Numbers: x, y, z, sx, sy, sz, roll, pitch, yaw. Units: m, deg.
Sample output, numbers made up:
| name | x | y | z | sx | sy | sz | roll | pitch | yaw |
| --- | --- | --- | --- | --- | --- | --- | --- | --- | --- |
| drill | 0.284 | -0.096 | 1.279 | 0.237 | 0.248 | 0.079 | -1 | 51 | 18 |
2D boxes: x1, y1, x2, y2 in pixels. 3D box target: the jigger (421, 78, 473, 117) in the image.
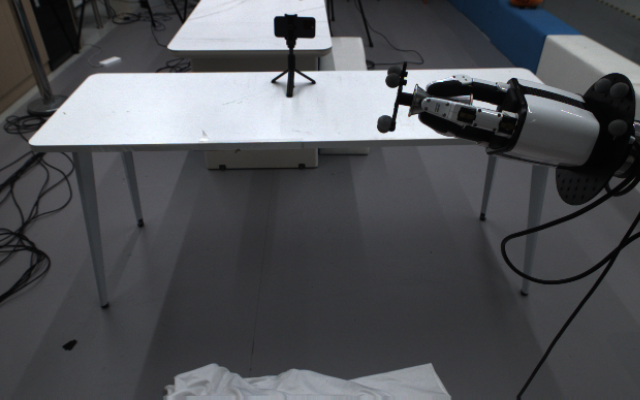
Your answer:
| name | x | y | z | sx | sy | sz | roll | pitch | yaw |
| --- | --- | --- | --- | --- | --- | --- | --- | --- | --- |
| jigger | 0.151 | -0.117 | 0.588 | 0.071 | 0.043 | 0.043 | 12 | 36 | 5 |
